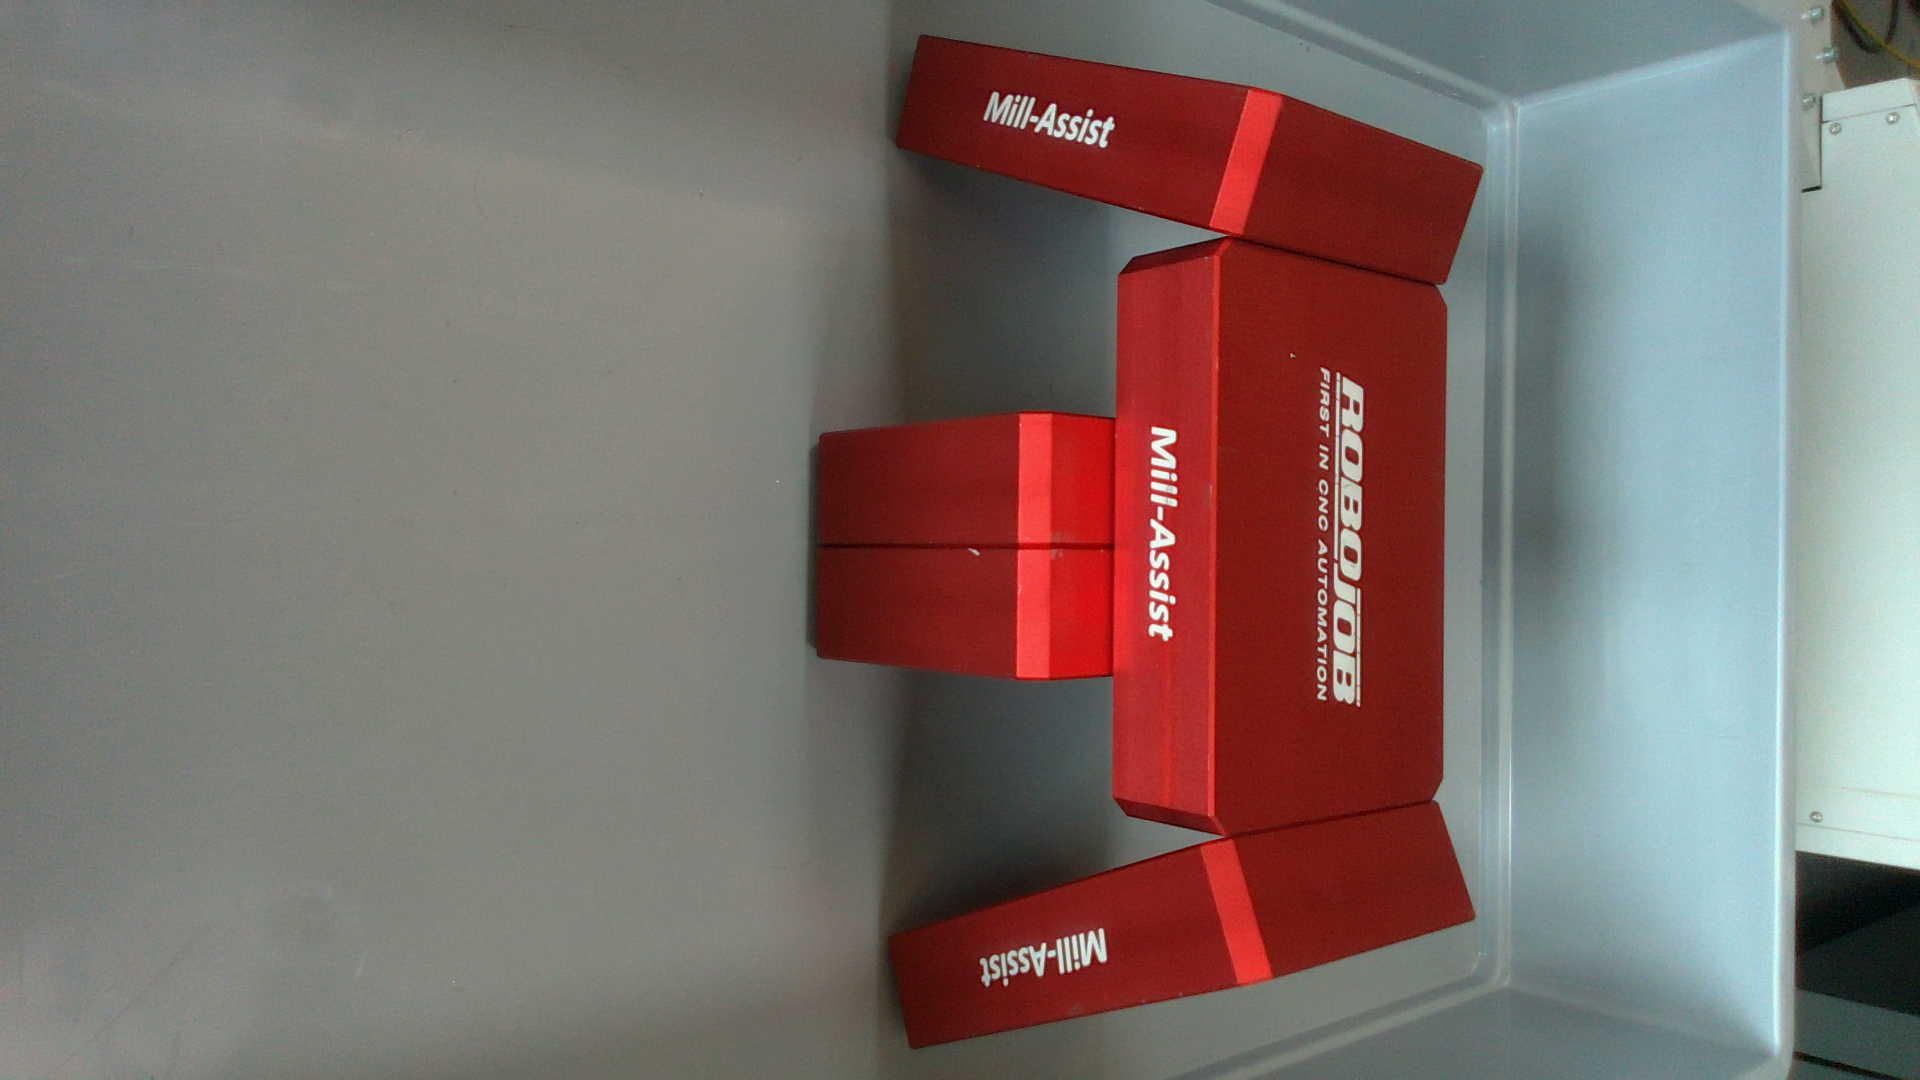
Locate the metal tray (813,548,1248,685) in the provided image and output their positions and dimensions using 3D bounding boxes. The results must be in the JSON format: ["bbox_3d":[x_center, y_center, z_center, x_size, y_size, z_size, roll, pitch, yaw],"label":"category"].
[{"bbox_3d":[0.037,0.018,0.377,0.131,0.090,0.030,1,89,-40],"label":"metal tray"}]

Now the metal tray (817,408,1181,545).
[{"bbox_3d":[0.038,-0.013,0.377,0.131,0.090,0.030,1,89,-40],"label":"metal tray"}]

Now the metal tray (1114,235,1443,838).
[{"bbox_3d":[0.079,0.000,0.333,0.090,0.030,0.130,1,89,-40],"label":"metal tray"}]

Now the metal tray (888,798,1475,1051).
[{"bbox_3d":[0.054,0.102,0.363,0.090,0.130,0.030,1,68,-40],"label":"metal tray"}]

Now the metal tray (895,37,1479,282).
[{"bbox_3d":[0.056,-0.102,0.365,0.090,0.130,0.030,1,110,-40],"label":"metal tray"}]
